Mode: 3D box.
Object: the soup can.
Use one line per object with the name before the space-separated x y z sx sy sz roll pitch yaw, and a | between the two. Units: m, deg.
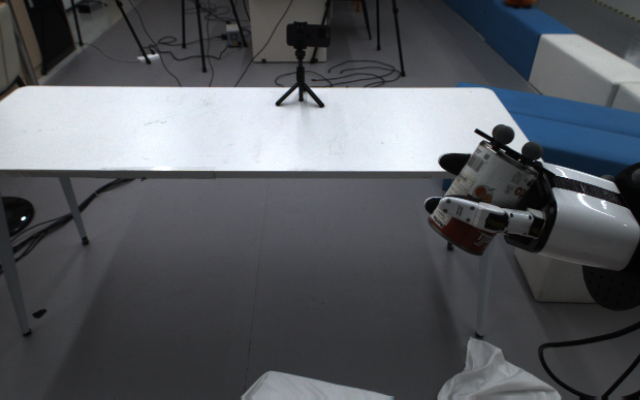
soup can | 0.171 -0.002 0.506 0.067 0.101 0.067 27 18 -9
